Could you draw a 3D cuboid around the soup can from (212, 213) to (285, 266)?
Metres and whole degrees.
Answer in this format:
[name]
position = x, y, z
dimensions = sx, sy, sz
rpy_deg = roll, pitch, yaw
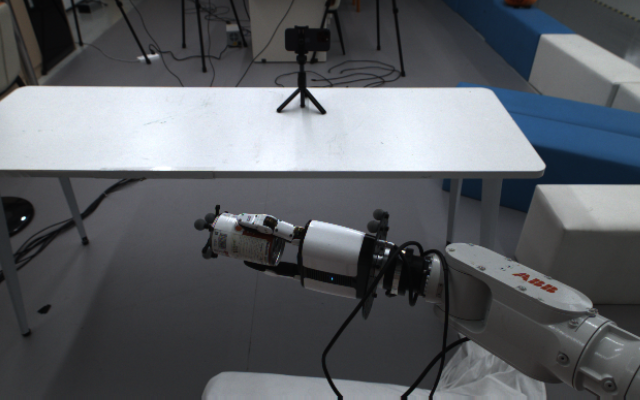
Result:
[soup can]
position = -0.109, 0.062, 0.747
dimensions = 0.101, 0.067, 0.067
rpy_deg = 11, 36, 11
